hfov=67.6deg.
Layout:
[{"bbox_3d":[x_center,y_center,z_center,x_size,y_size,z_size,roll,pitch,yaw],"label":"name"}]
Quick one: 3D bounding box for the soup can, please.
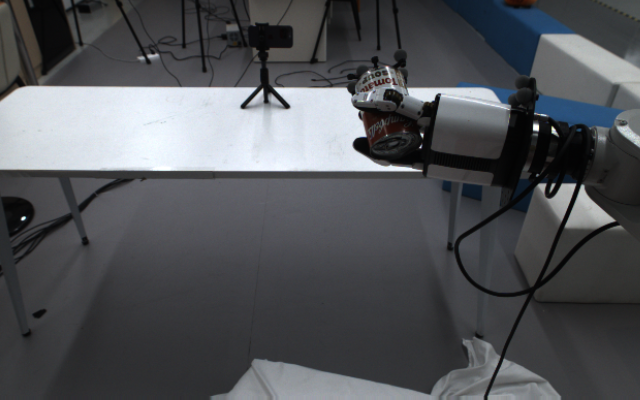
[{"bbox_3d":[0.088,-0.113,0.629,0.067,0.067,0.101,-6,67,-12],"label":"soup can"}]
